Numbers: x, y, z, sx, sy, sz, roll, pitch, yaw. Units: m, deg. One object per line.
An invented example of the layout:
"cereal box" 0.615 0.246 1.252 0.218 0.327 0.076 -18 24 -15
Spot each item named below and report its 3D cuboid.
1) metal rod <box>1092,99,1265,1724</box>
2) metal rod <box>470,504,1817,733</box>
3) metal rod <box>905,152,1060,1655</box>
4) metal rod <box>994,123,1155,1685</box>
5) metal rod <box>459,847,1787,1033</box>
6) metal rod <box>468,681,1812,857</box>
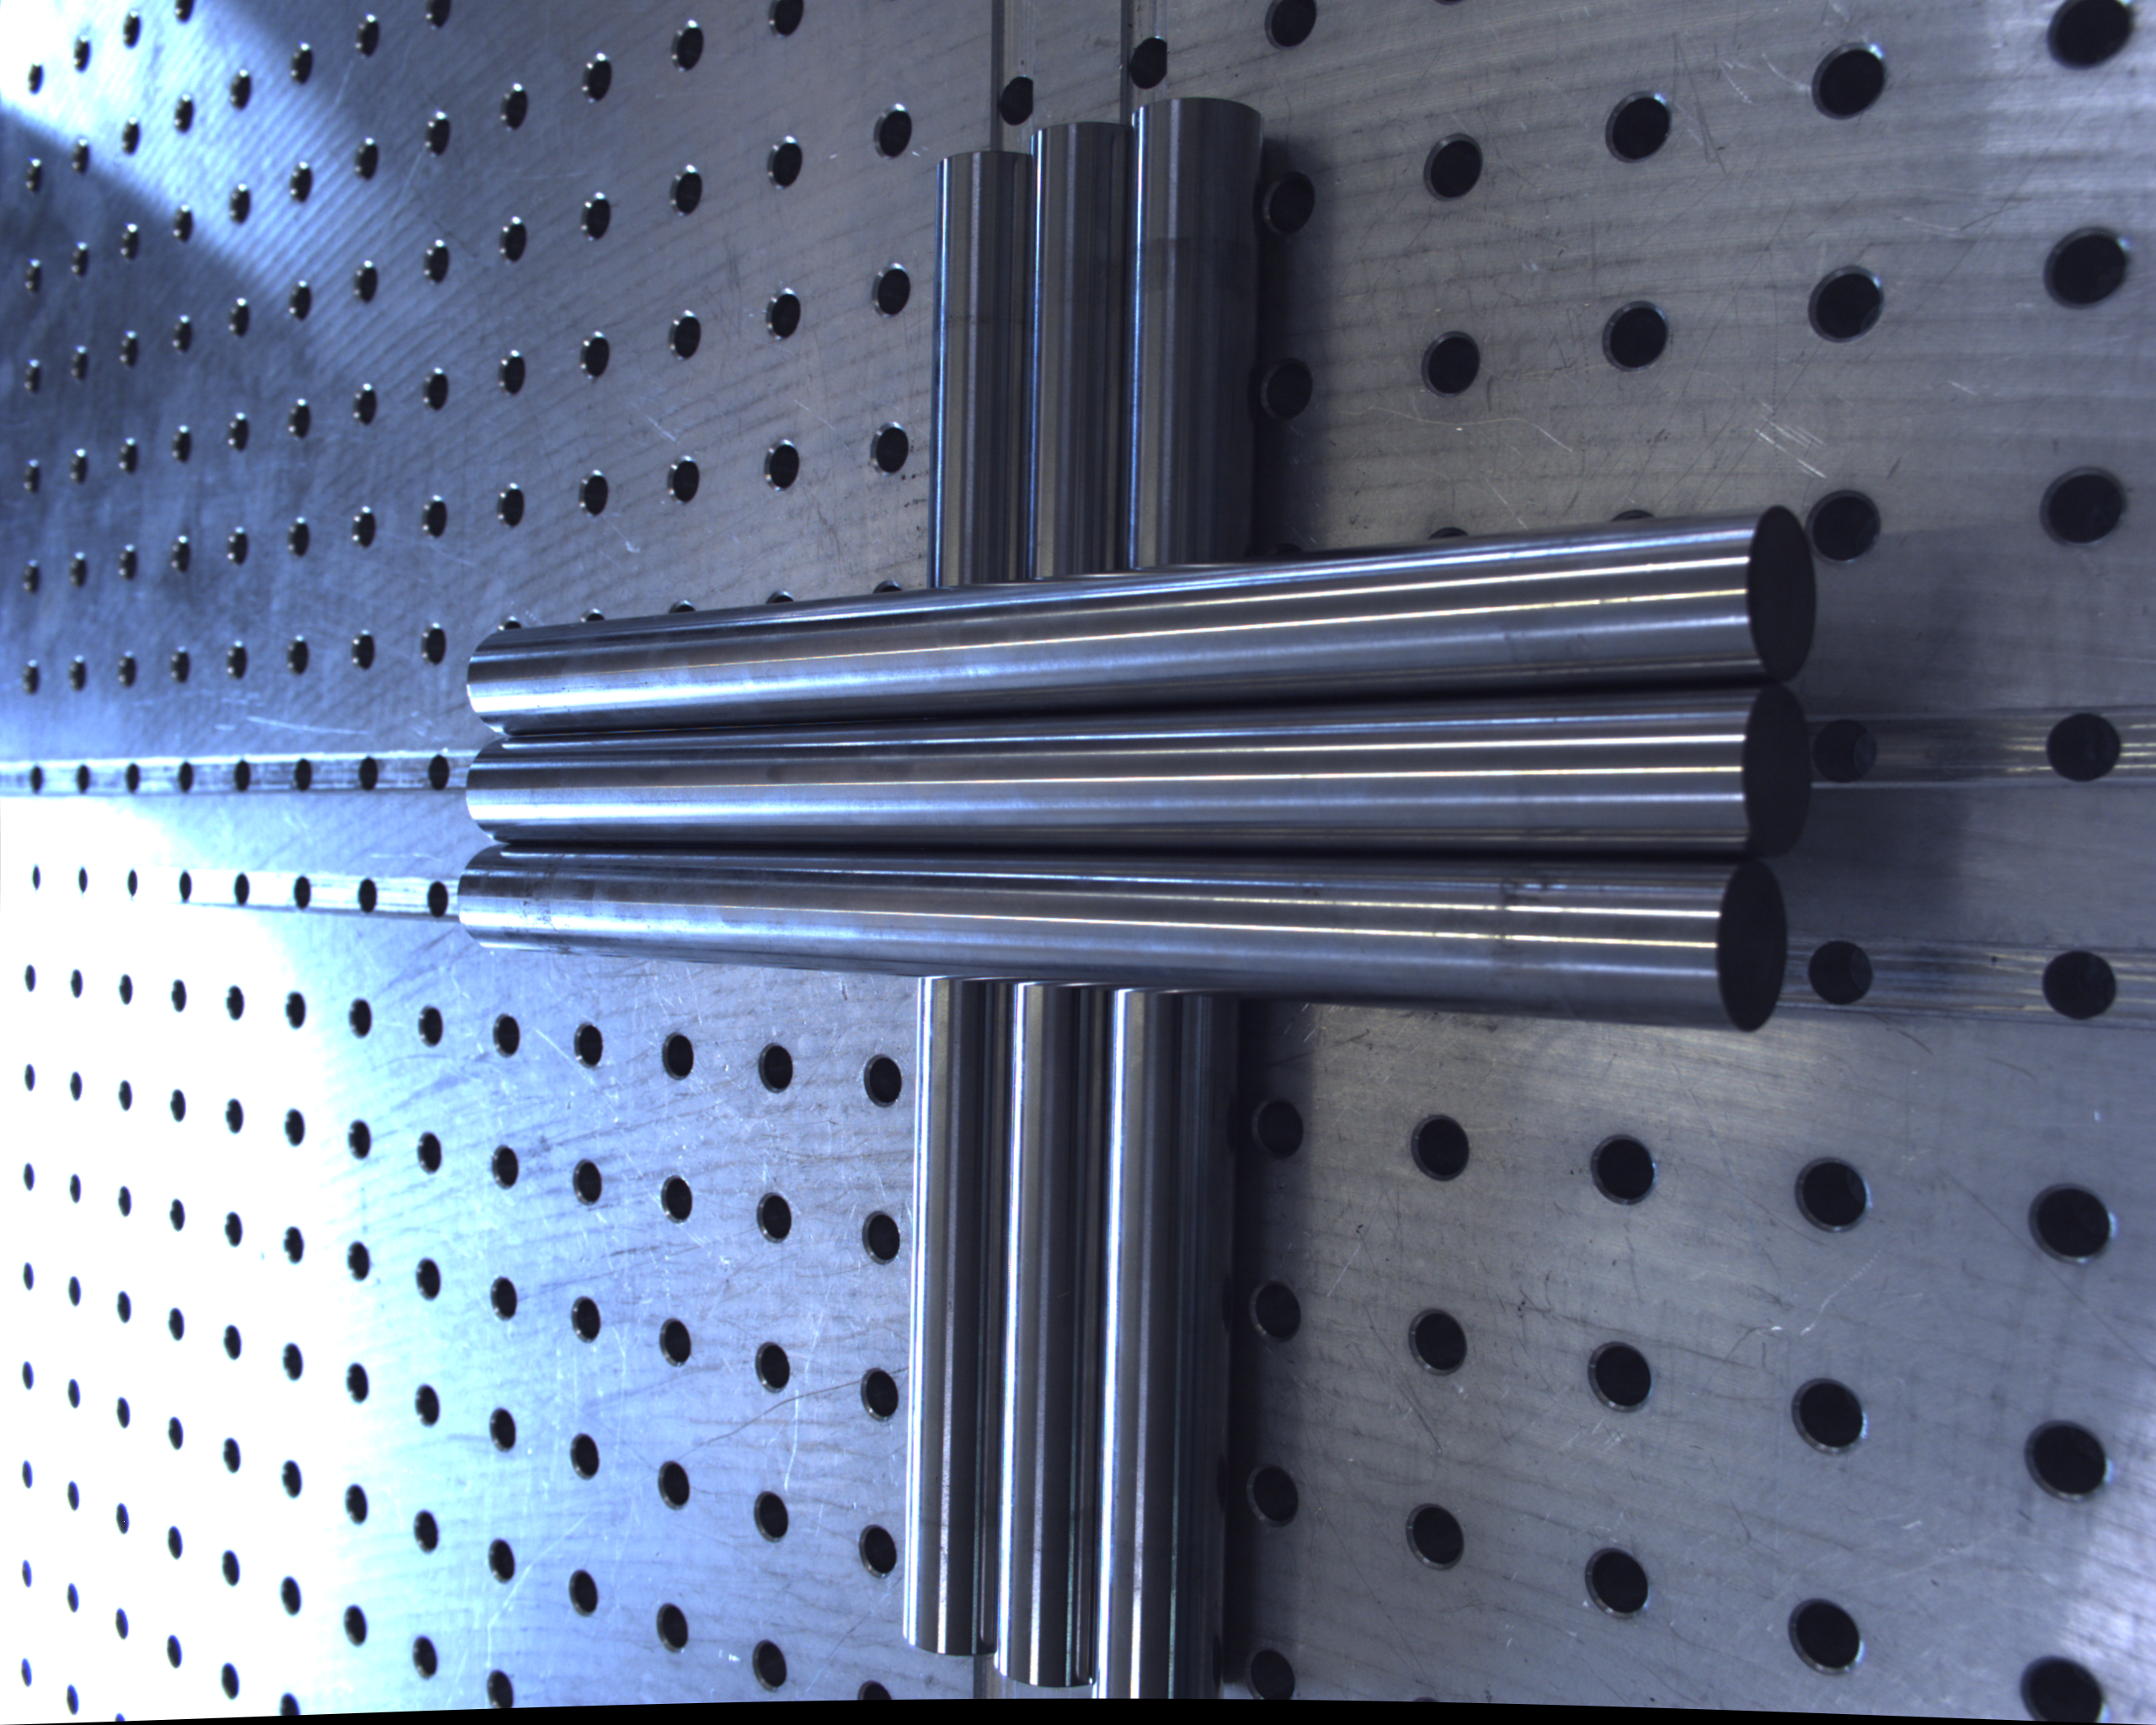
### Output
"metal rod" 0.019 0.010 0.395 0.025 0.025 0.298 2 92 40
"metal rod" -0.016 -0.040 0.391 0.300 0.025 0.025 1 91 40
"metal rod" -0.019 0.009 0.426 0.025 0.025 0.298 2 92 40
"metal rod" 0.000 0.009 0.411 0.025 0.025 0.298 2 92 40
"metal rod" -0.019 0.010 0.393 0.300 0.025 0.025 1 91 40
"metal rod" -0.016 -0.015 0.391 0.300 0.025 0.025 1 91 40
